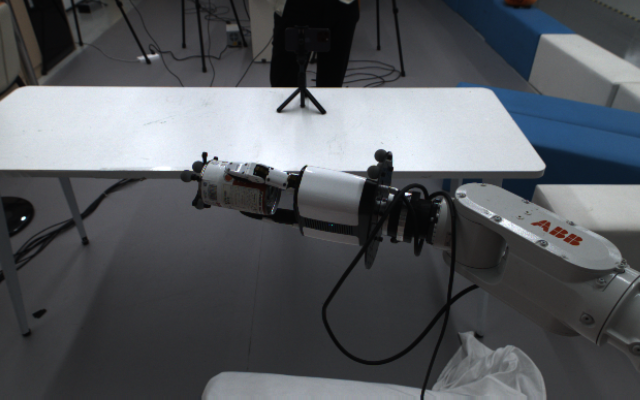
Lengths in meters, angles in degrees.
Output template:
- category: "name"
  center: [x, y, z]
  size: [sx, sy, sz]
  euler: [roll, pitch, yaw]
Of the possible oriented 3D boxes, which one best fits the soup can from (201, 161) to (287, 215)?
- category: "soup can"
  center: [-0.112, -0.018, 0.690]
  size: [0.101, 0.067, 0.067]
  euler: [10, 35, 10]
